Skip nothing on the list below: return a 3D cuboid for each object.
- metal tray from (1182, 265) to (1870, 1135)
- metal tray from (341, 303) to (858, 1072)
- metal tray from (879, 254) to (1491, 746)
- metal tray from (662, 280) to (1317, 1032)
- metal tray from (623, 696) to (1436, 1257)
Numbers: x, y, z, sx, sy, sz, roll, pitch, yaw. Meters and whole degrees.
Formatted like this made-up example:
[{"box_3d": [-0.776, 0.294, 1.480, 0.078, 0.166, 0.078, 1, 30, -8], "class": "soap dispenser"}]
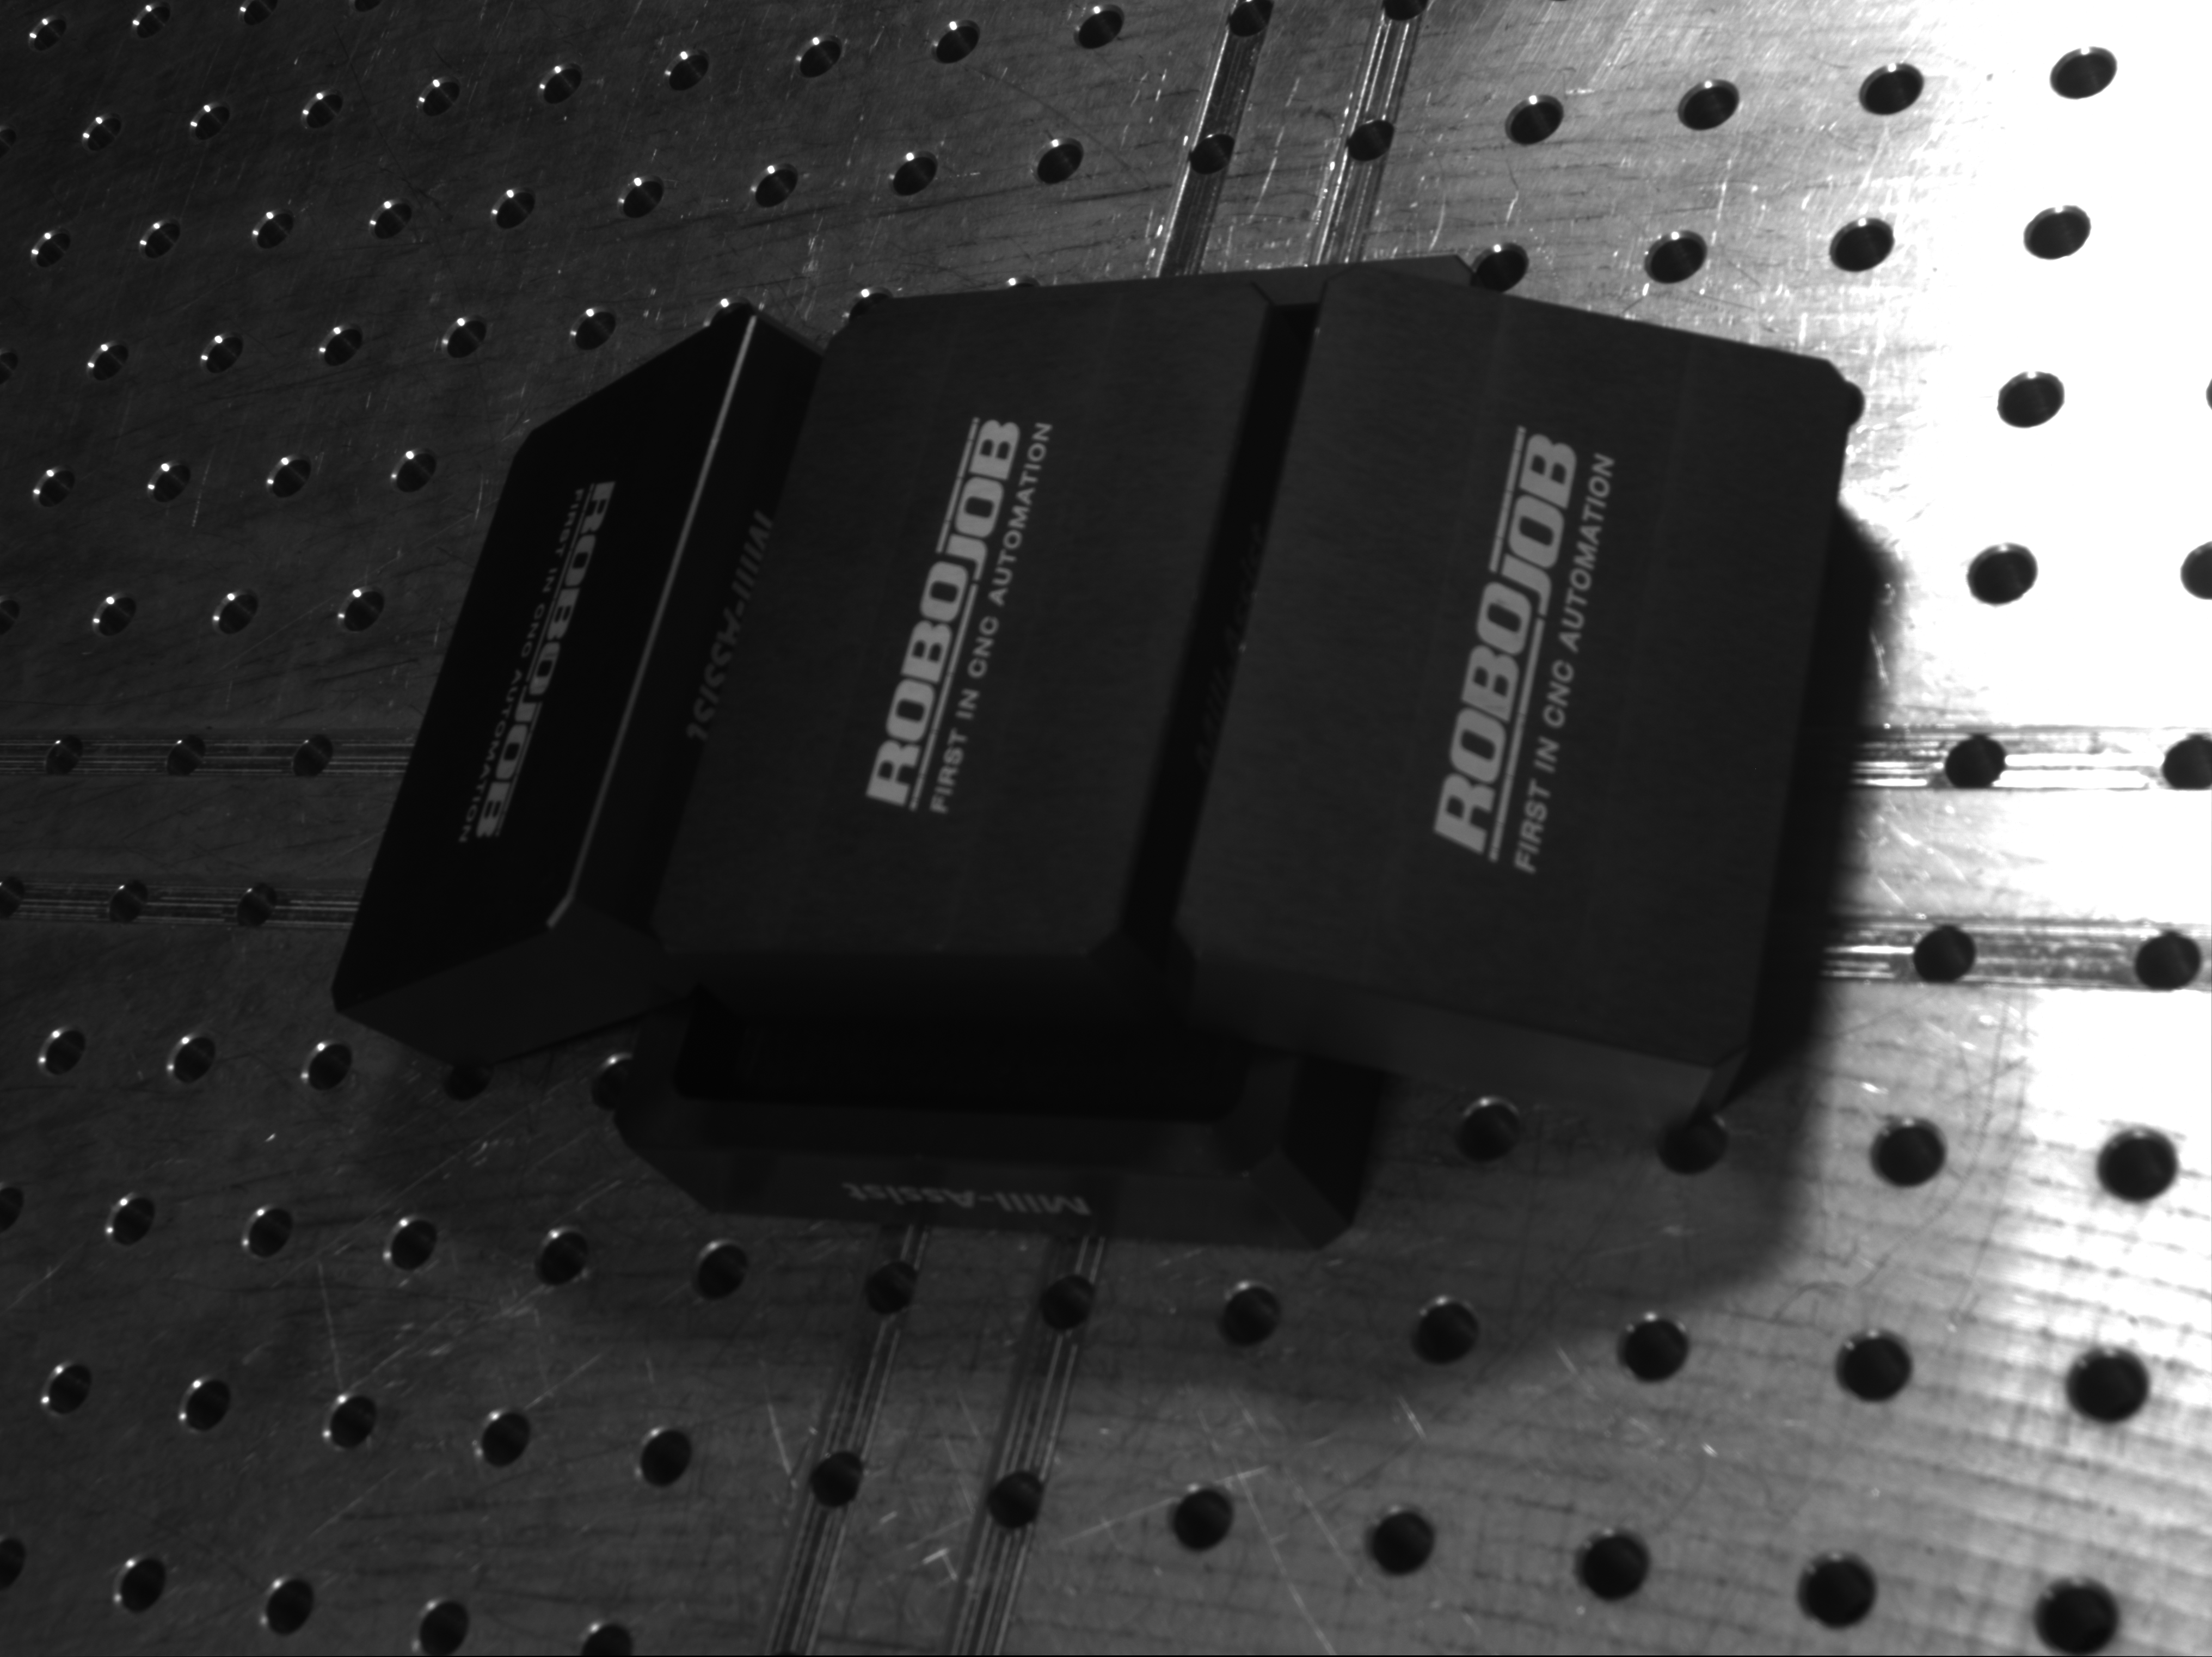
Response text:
[{"box_3d": [0.069, -0.023, 0.596, 0.090, 0.030, 0.130, 12, 65, 4], "class": "metal tray"}, {"box_3d": [-0.093, -0.025, 0.687, 0.090, 0.030, 0.130, -19, 49, 50], "class": "metal tray"}, {"box_3d": [0.008, -0.057, 0.675, 0.130, 0.030, 0.090, 0, 62, 28], "class": "metal tray"}, {"box_3d": [-0.016, -0.030, 0.632, 0.090, 0.030, 0.130, 0, 61, 28], "class": "metal tray"}, {"box_3d": [-0.012, 0.024, 0.637, 0.130, 0.030, 0.090, 0, 62, 28], "class": "metal tray"}]
